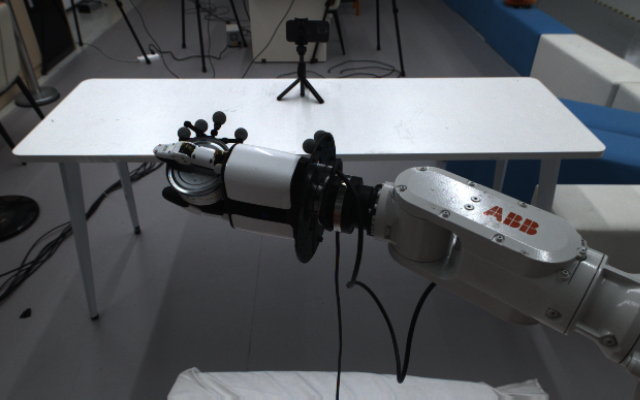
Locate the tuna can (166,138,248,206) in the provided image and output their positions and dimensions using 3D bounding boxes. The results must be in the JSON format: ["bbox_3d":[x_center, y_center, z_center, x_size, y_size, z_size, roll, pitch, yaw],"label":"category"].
[{"bbox_3d":[-0.151,-0.036,0.621,0.085,0.034,0.085,-3,61,5],"label":"tuna can"}]
